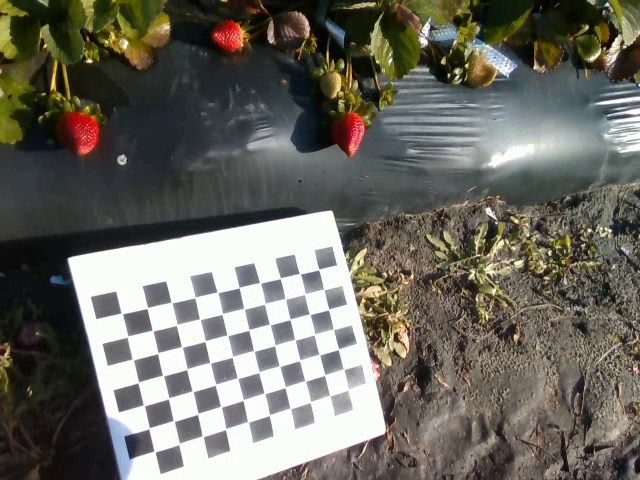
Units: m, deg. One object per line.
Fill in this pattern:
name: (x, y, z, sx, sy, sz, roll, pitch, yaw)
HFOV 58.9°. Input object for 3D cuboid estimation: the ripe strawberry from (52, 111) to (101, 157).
ripe strawberry: (-0.228, -0.101, 0.560, 0.045, 0.055, 0.042, -2, -40, -26)

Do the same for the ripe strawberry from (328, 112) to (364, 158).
ripe strawberry: (0.028, -0.117, 0.630, 0.042, 0.059, 0.042, 13, -25, -23)

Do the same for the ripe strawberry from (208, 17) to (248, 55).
ripe strawberry: (-0.098, -0.223, 0.627, 0.046, 0.035, 0.035, -11, -6, -32)
